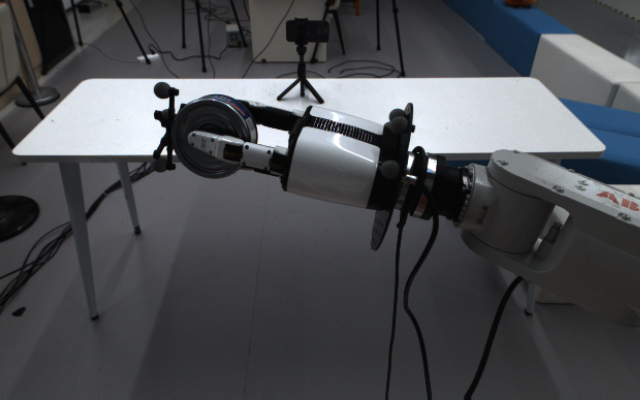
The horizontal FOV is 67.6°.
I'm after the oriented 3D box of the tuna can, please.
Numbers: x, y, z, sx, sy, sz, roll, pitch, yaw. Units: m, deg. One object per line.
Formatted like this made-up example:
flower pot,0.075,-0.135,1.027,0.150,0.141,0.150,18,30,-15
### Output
tuna can,-0.109,-0.068,0.514,0.085,0.085,0.034,4,18,3
